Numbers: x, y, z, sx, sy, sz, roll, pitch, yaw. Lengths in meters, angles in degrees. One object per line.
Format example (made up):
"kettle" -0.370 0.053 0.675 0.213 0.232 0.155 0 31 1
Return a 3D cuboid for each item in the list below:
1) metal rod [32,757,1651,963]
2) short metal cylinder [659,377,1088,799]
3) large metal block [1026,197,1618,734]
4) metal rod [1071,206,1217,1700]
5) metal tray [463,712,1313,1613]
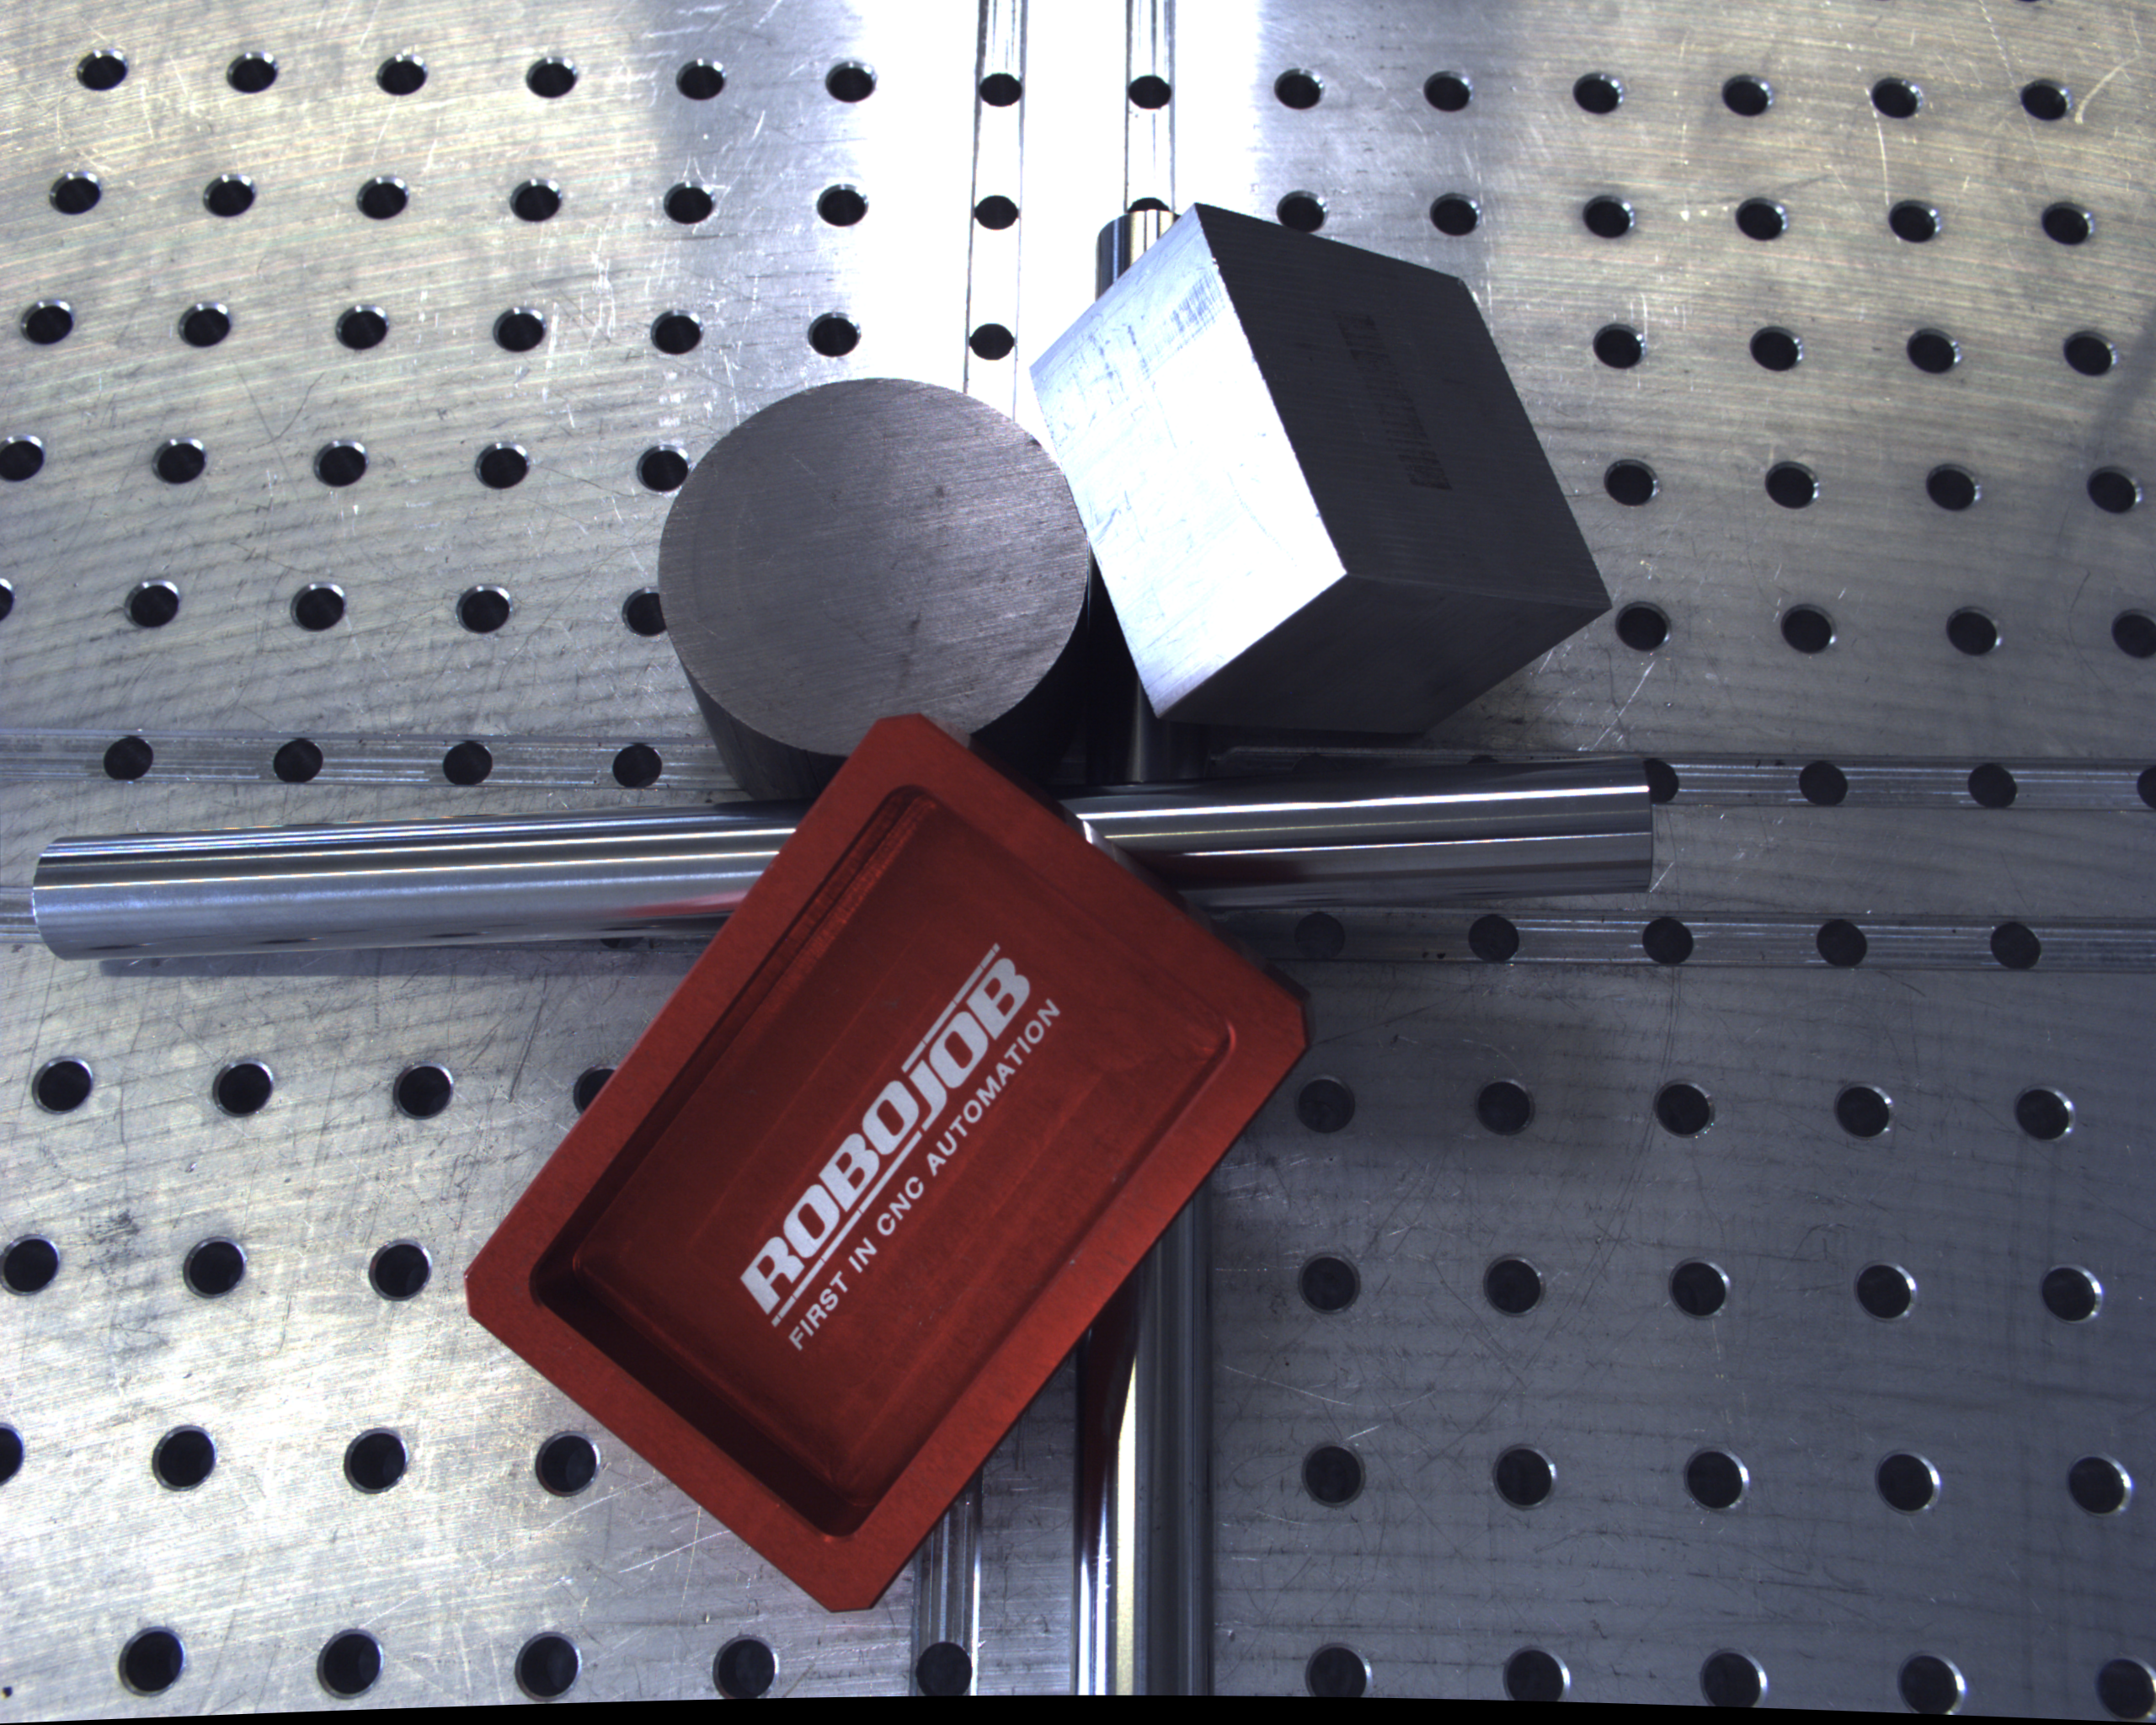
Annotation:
"metal rod" -0.048 0.000 0.394 0.302 0.025 0.025 -3 70 6
"short metal cylinder" -0.038 -0.049 0.415 0.081 0.050 0.080 0 70 0
"large metal block" 0.047 -0.073 0.404 0.081 0.050 0.080 -1 64 -43
"metal rod" 0.014 0.003 0.410 0.025 0.025 0.299 1 70 0
"metal tray" -0.032 0.050 0.363 0.090 0.030 0.130 38 95 6
